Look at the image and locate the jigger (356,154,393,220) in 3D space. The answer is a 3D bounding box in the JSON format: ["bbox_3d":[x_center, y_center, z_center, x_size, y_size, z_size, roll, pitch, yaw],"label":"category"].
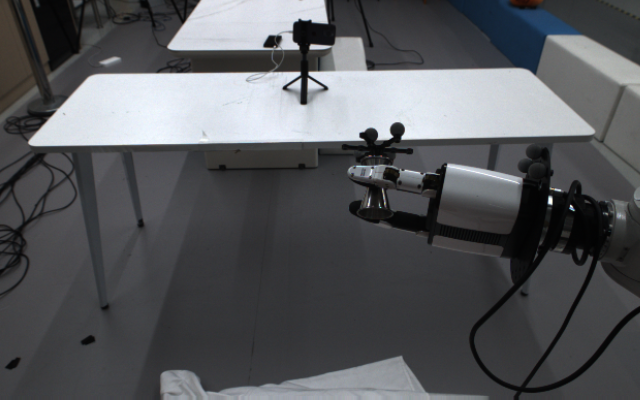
[{"bbox_3d":[0.066,-0.016,0.592,0.043,0.043,0.071,4,71,3],"label":"jigger"}]
